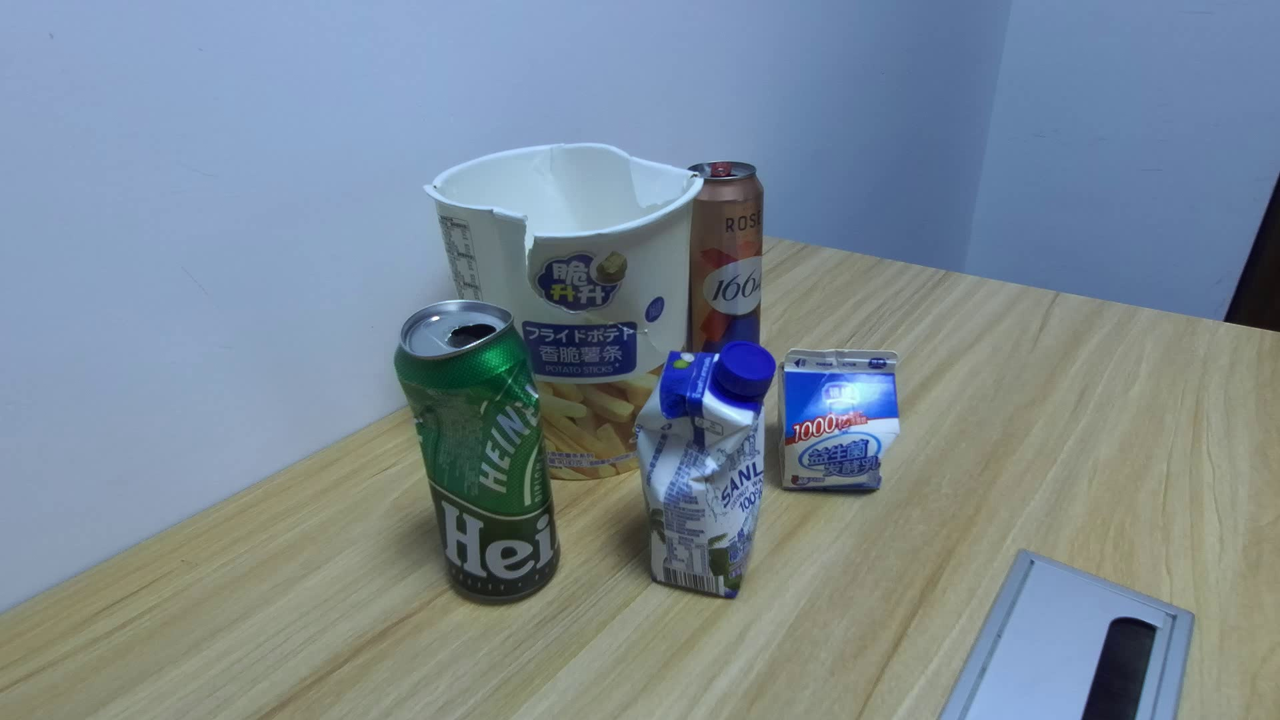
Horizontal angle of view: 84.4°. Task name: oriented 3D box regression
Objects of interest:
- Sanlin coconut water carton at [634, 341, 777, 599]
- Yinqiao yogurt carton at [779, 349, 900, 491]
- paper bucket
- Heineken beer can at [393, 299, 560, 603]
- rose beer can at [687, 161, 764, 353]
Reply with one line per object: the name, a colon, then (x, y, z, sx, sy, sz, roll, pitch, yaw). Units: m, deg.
Sanlin coconut water carton: (0.034, 0.056, 0.375, 0.069, 0.144, 0.061, 8, 32, 18)
Yinqiao yogurt carton: (0.127, 0.032, 0.459, 0.074, 0.097, 0.080, -1, 36, 3)
paper bucket: (-0.043, -0.035, 0.497, 0.146, 0.197, 0.201, -25, 35, -32)
Heineken beer can: (-0.085, 0.052, 0.381, 0.066, 0.164, 0.077, -11, 33, -11)
rose beer can: (0.068, -0.072, 0.586, 0.068, 0.169, 0.068, -2, 27, 2)
